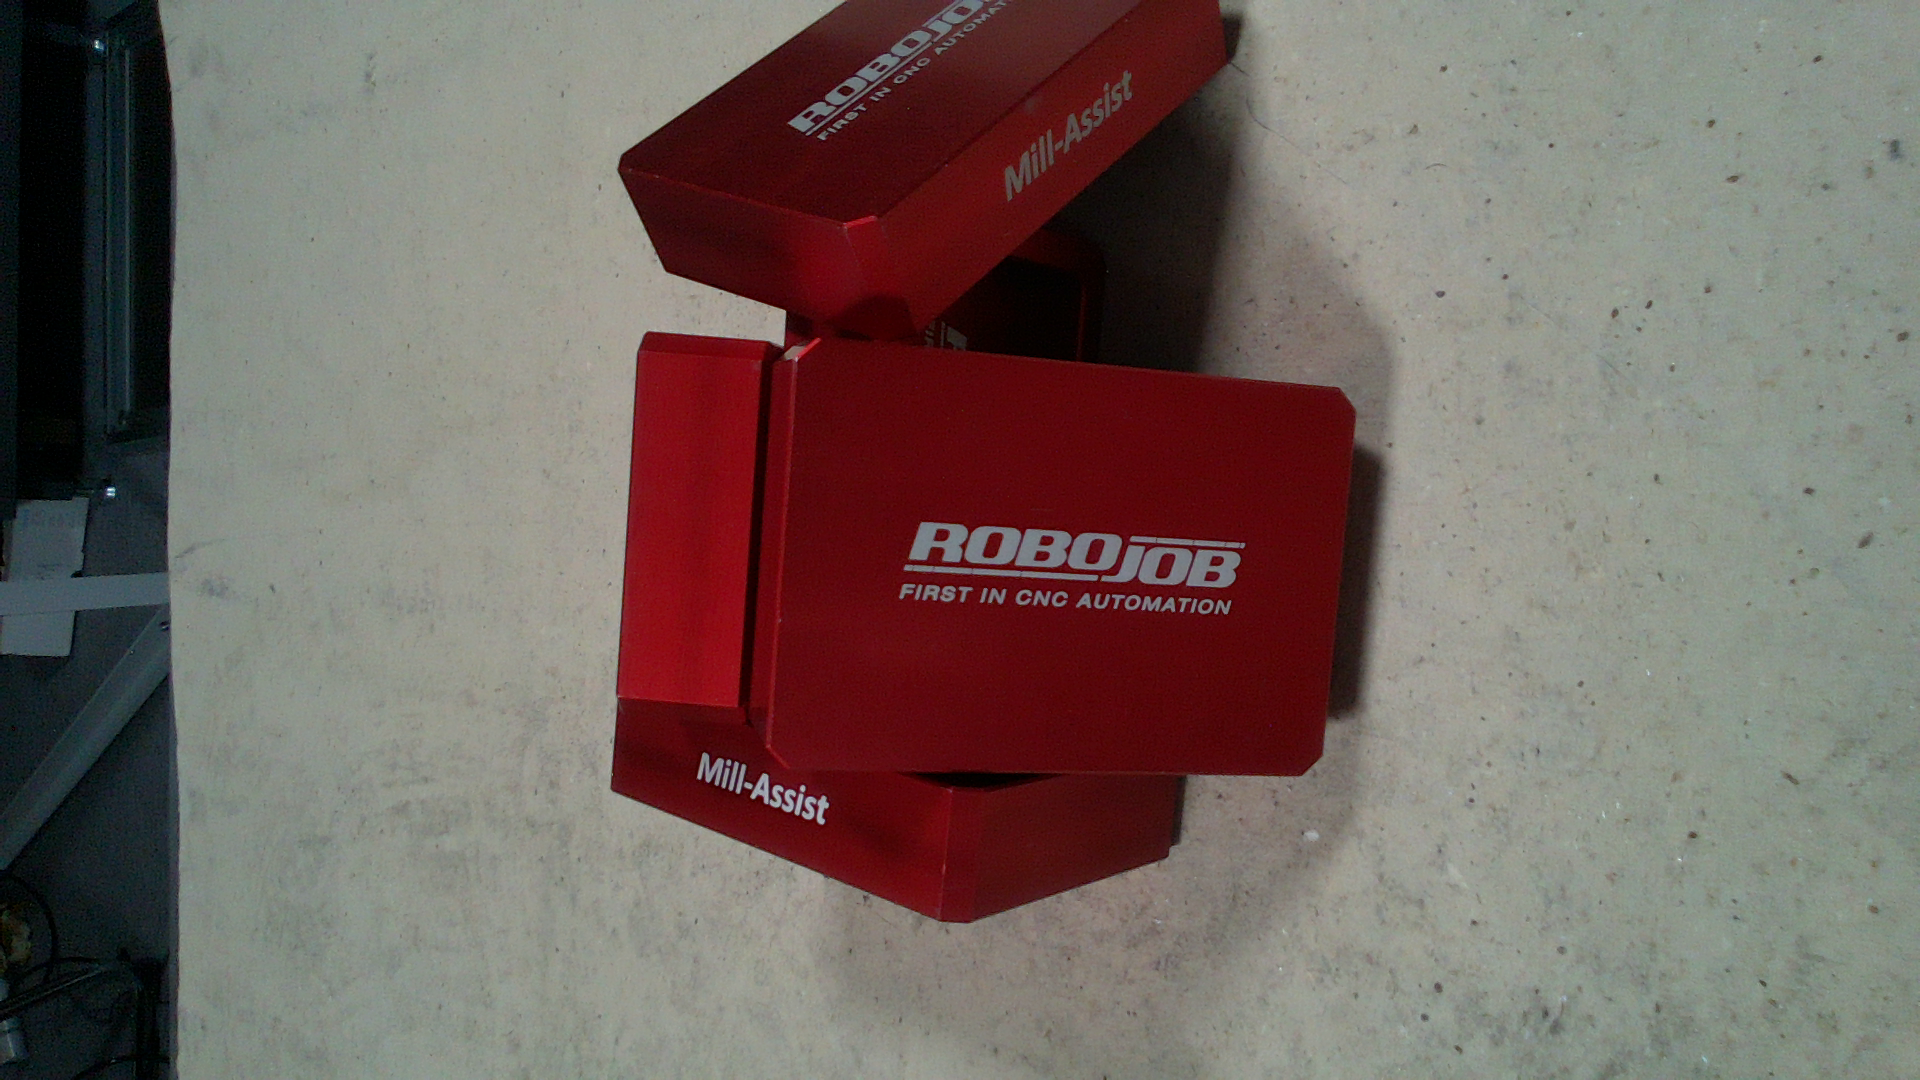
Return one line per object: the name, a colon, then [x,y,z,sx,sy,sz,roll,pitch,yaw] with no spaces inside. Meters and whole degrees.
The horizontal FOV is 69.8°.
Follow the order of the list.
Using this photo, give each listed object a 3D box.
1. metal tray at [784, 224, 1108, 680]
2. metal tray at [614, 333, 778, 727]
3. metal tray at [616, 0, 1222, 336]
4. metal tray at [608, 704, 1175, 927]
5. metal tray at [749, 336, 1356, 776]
metal tray: [-0.005,-0.018,0.356,0.030,0.090,0.130,9,96,40]
metal tray: [-0.058,-0.006,0.380,0.030,0.130,0.090,5,94,4]
metal tray: [-0.008,-0.107,0.341,0.090,0.130,0.030,22,145,38]
metal tray: [-0.020,0.061,0.368,0.129,0.090,0.030,9,96,40]
metal tray: [0.021,0.005,0.311,0.030,0.130,0.090,-162,76,-73]
